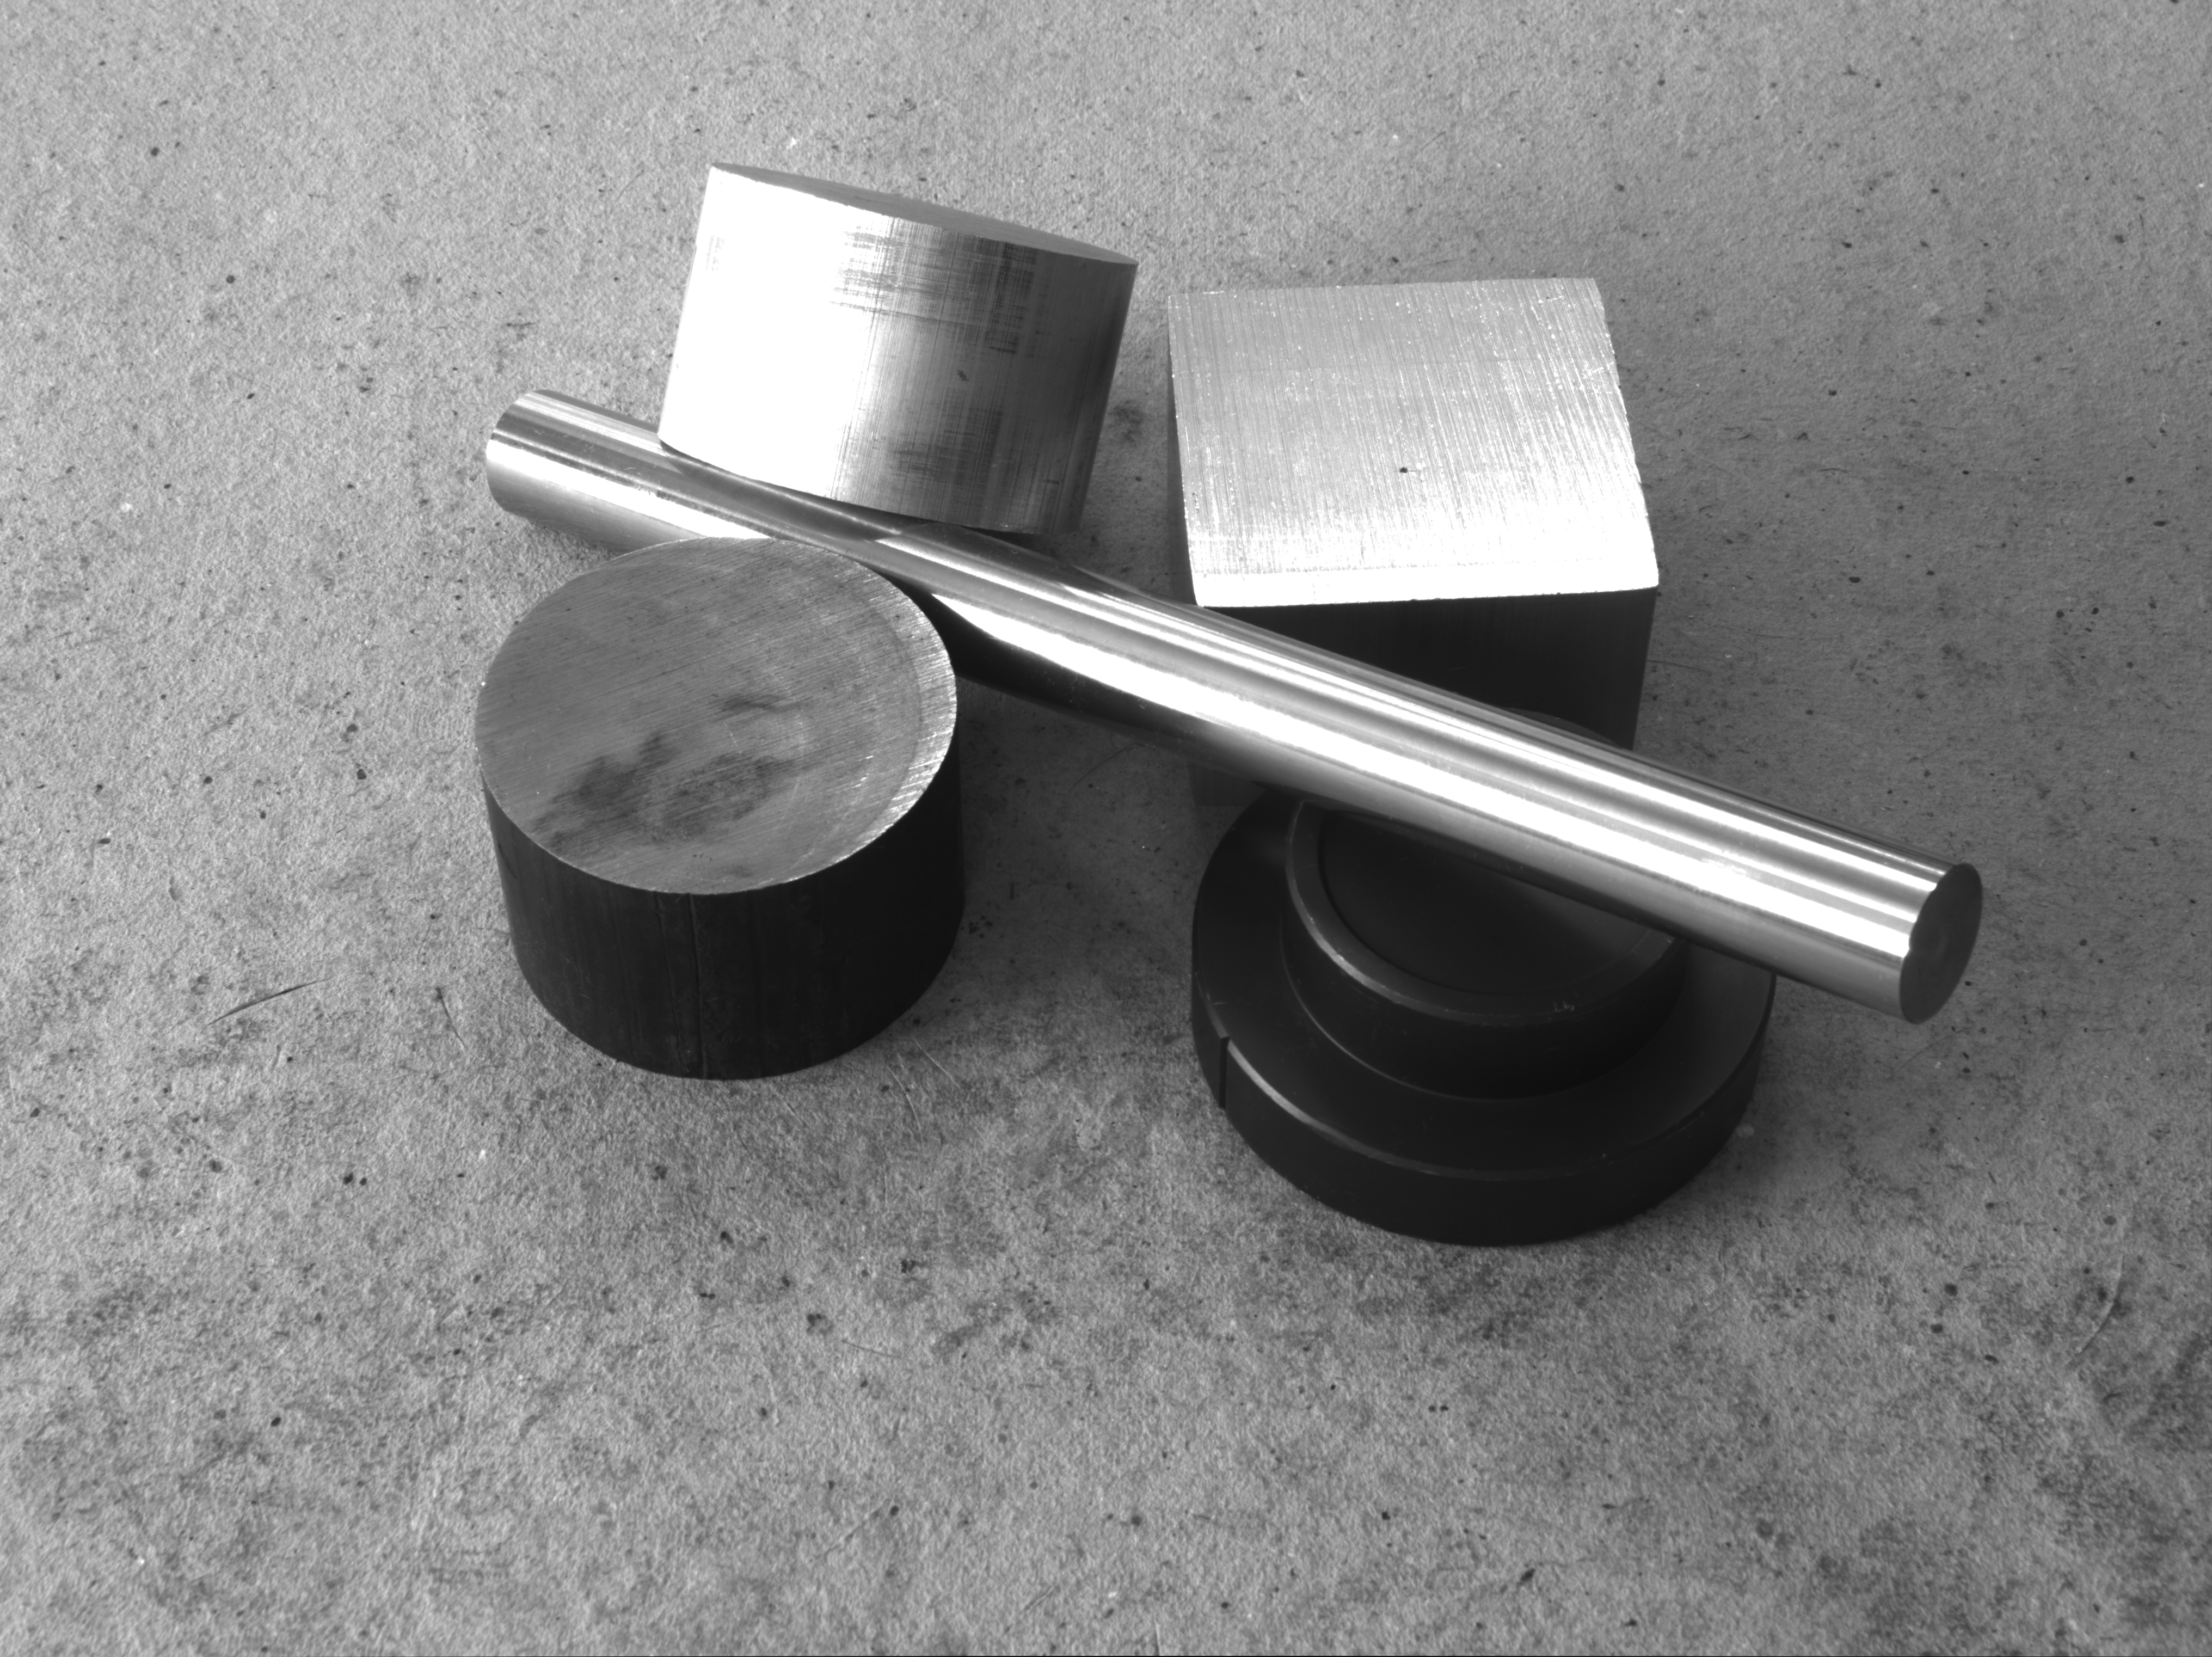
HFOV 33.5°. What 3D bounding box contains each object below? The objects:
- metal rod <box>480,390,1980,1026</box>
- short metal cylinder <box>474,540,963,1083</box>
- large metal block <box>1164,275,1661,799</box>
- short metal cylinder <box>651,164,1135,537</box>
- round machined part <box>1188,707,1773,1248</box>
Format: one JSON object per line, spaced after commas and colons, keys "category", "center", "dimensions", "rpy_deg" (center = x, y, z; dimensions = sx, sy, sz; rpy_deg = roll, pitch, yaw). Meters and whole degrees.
{"category": "metal rod", "center": [0.006, -0.027, 0.622], "dimensions": [0.299, 0.025, 0.025], "rpy_deg": [21, 52, 33]}
{"category": "short metal cylinder", "center": [-0.065, -0.003, 0.631], "dimensions": [0.080, 0.050, 0.080], "rpy_deg": [0, 50, 0]}
{"category": "large metal block", "center": [0.053, -0.054, 0.669], "dimensions": [0.080, 0.050, 0.080], "rpy_deg": [-2, 50, -2]}
{"category": "short metal cylinder", "center": [-0.039, -0.088, 0.677], "dimensions": [0.080, 0.050, 0.080], "rpy_deg": [13, 12, -3]}
{"category": "round machined part", "center": [0.063, 0.018, 0.615], "dimensions": [0.098, 0.042, 0.098], "rpy_deg": [0, 50, 0]}
